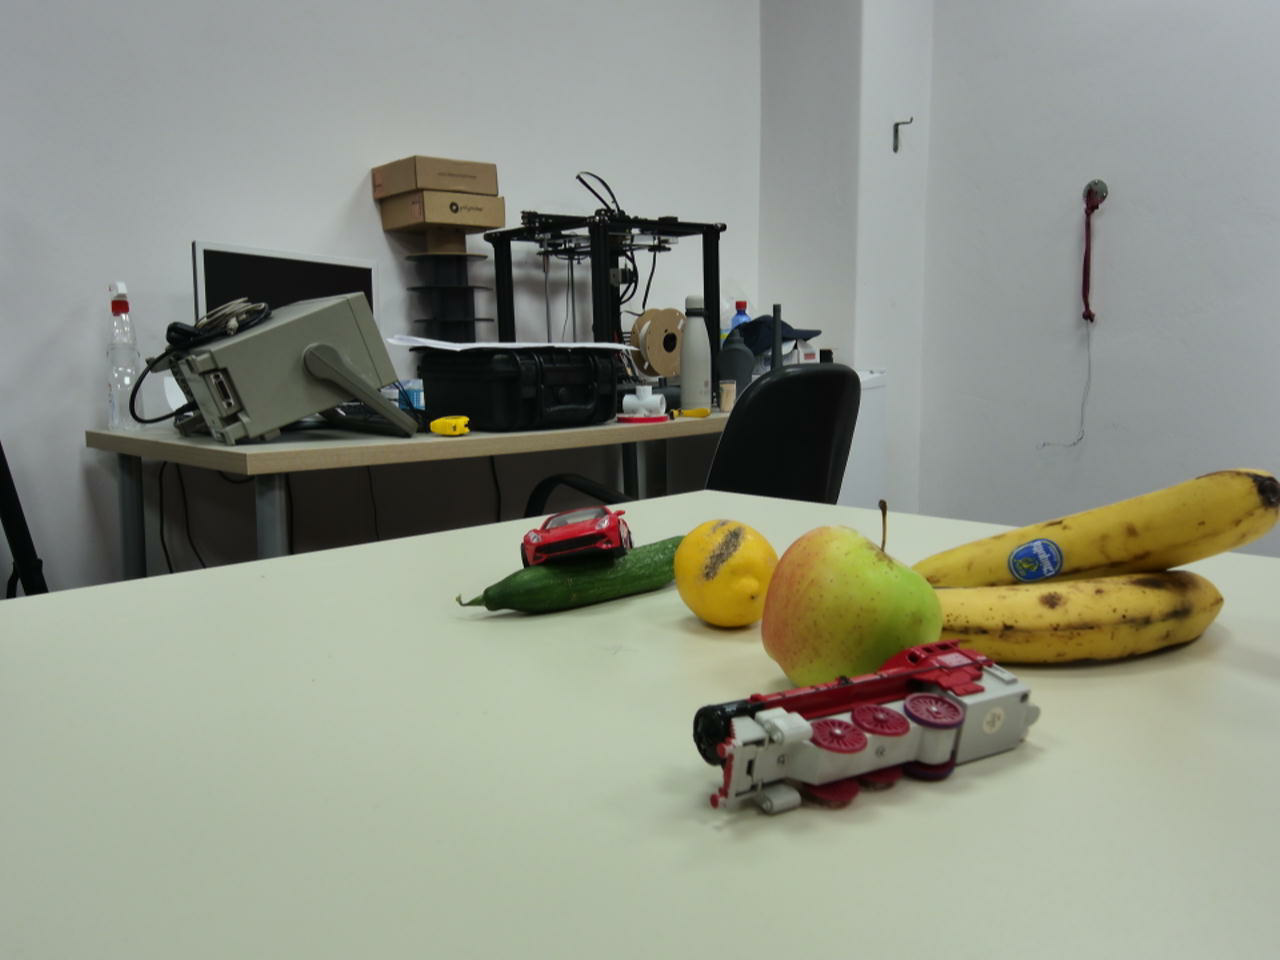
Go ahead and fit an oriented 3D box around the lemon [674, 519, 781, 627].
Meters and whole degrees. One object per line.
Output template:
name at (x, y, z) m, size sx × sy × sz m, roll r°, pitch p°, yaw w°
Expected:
lemon at (0.048, 0.050, 0.543) m, size 0.061 × 0.056 × 0.058 m, roll 5°, pitch 7°, yaw 39°
